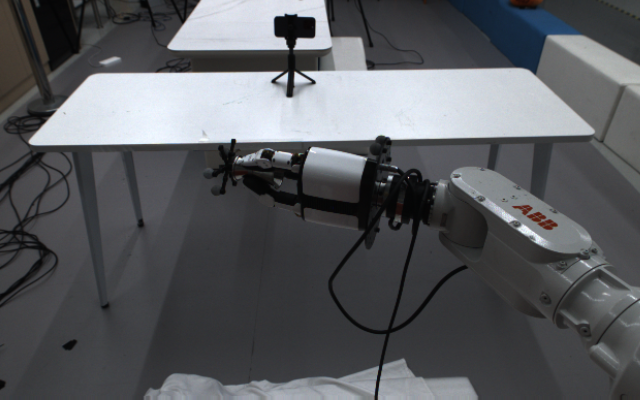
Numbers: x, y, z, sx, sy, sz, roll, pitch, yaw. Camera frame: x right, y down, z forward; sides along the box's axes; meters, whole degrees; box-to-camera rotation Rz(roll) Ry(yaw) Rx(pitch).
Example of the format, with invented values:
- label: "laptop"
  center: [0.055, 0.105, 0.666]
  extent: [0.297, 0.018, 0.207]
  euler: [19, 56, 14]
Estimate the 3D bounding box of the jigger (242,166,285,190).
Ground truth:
- label: "jigger"
  center: [-0.088, -0.048, 0.729]
  extent: [0.071, 0.043, 0.043]
  euler: [10, 35, 16]
